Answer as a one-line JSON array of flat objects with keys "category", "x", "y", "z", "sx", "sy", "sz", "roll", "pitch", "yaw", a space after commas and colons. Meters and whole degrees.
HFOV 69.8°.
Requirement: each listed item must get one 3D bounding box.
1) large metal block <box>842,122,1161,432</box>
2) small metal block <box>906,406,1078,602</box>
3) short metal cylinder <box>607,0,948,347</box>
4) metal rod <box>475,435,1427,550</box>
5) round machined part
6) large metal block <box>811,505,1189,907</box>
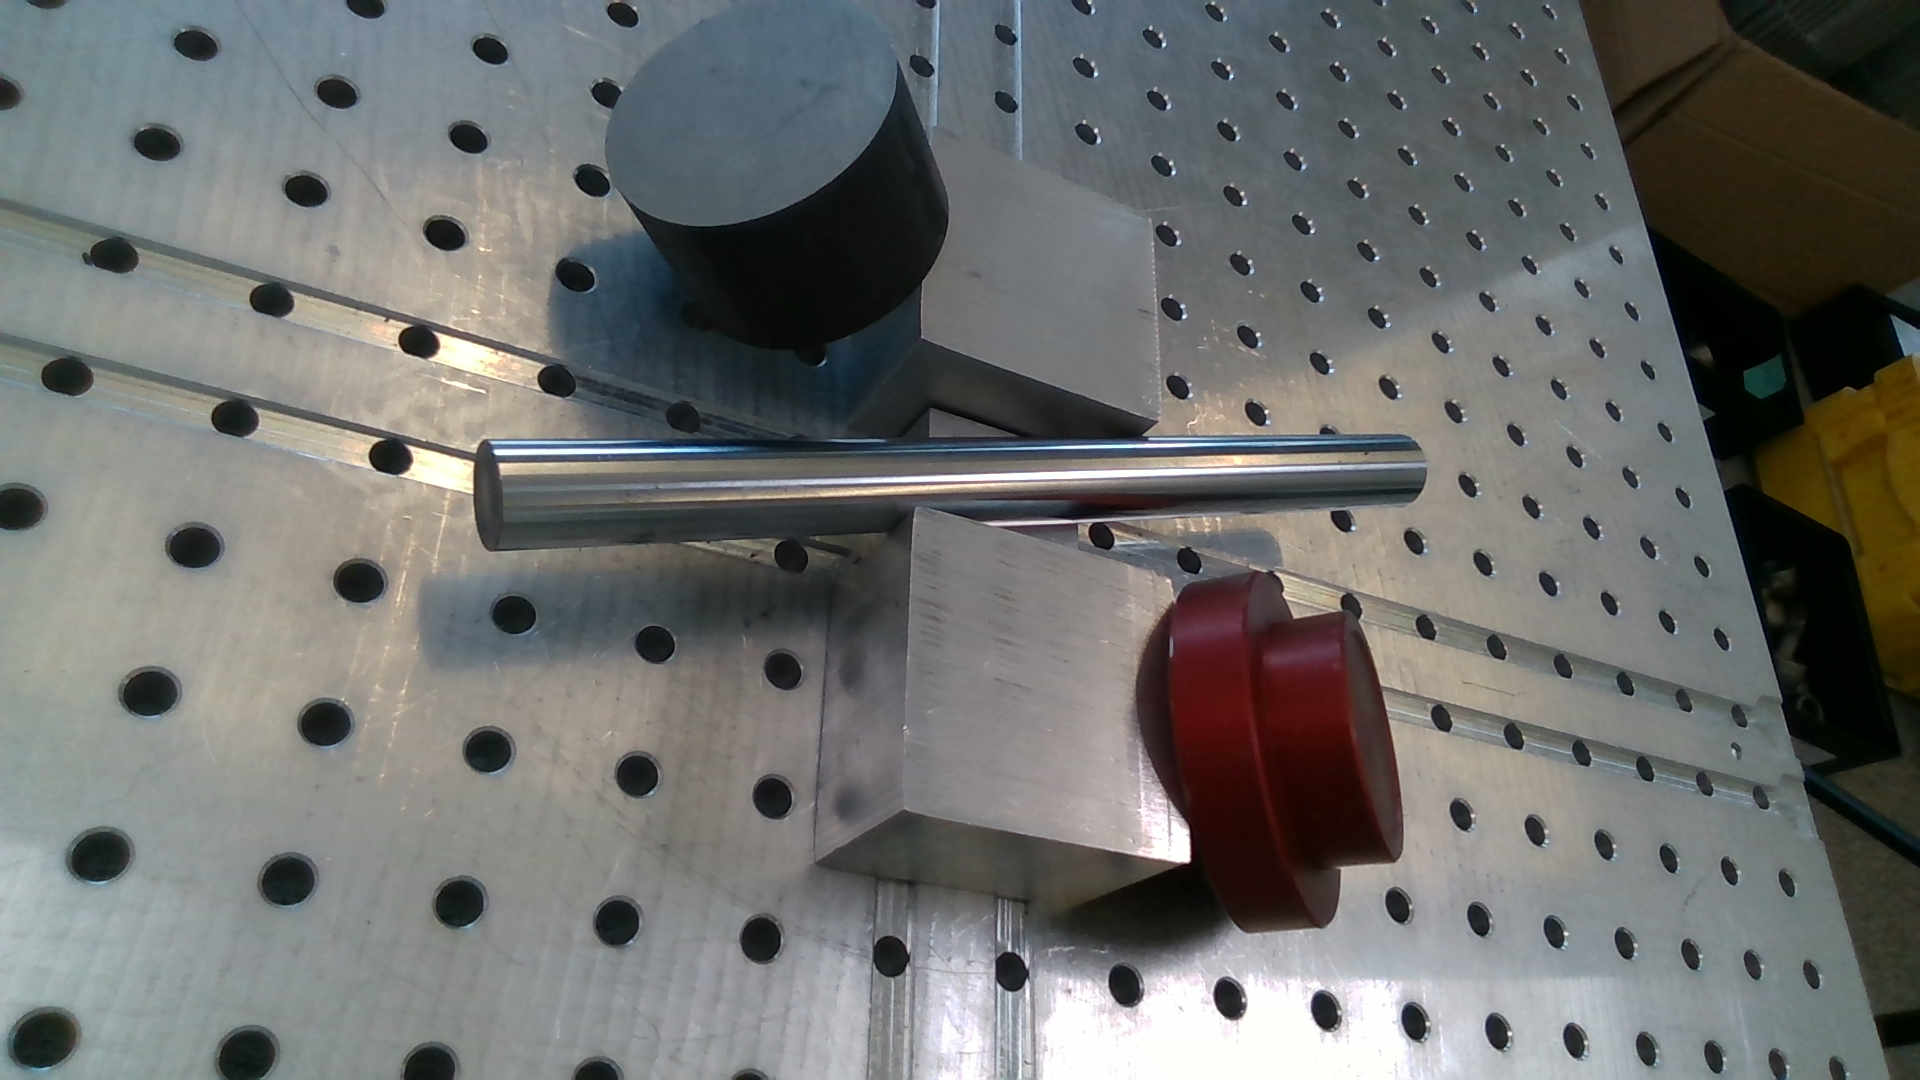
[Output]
[{"category": "large metal block", "x": 0.013, "y": -0.069, "z": 0.426, "sx": 0.080, "sy": 0.050, "sz": 0.080, "roll": 16, "pitch": 58, "yaw": -24}, {"category": "small metal block", "x": 0.007, "y": -0.006, "z": 0.404, "sx": 0.050, "sy": 0.025, "sz": 0.050, "roll": 15, "pitch": 58, "yaw": -25}, {"category": "short metal cylinder", "x": -0.048, "y": -0.101, "z": 0.377, "sx": 0.080, "sy": 0.050, "sz": 0.080, "roll": -7, "pitch": 60, "yaw": 12}, {"category": "metal rod", "x": 0.022, "y": -0.017, "z": 0.385, "sx": 0.300, "sy": 0.025, "sz": 0.025, "roll": -3, "pitch": 67, "yaw": -33}, {"category": "round machined part", "x": 0.093, "y": 0.056, "z": 0.381, "sx": 0.098, "sy": 0.042, "sz": 0.098, "roll": 43, "pitch": 41, "yaw": -53}, {"category": "large metal block", "x": 0.010, "y": 0.046, "z": 0.363, "sx": 0.080, "sy": 0.050, "sz": 0.080, "roll": 15, "pitch": 58, "yaw": -24}]
